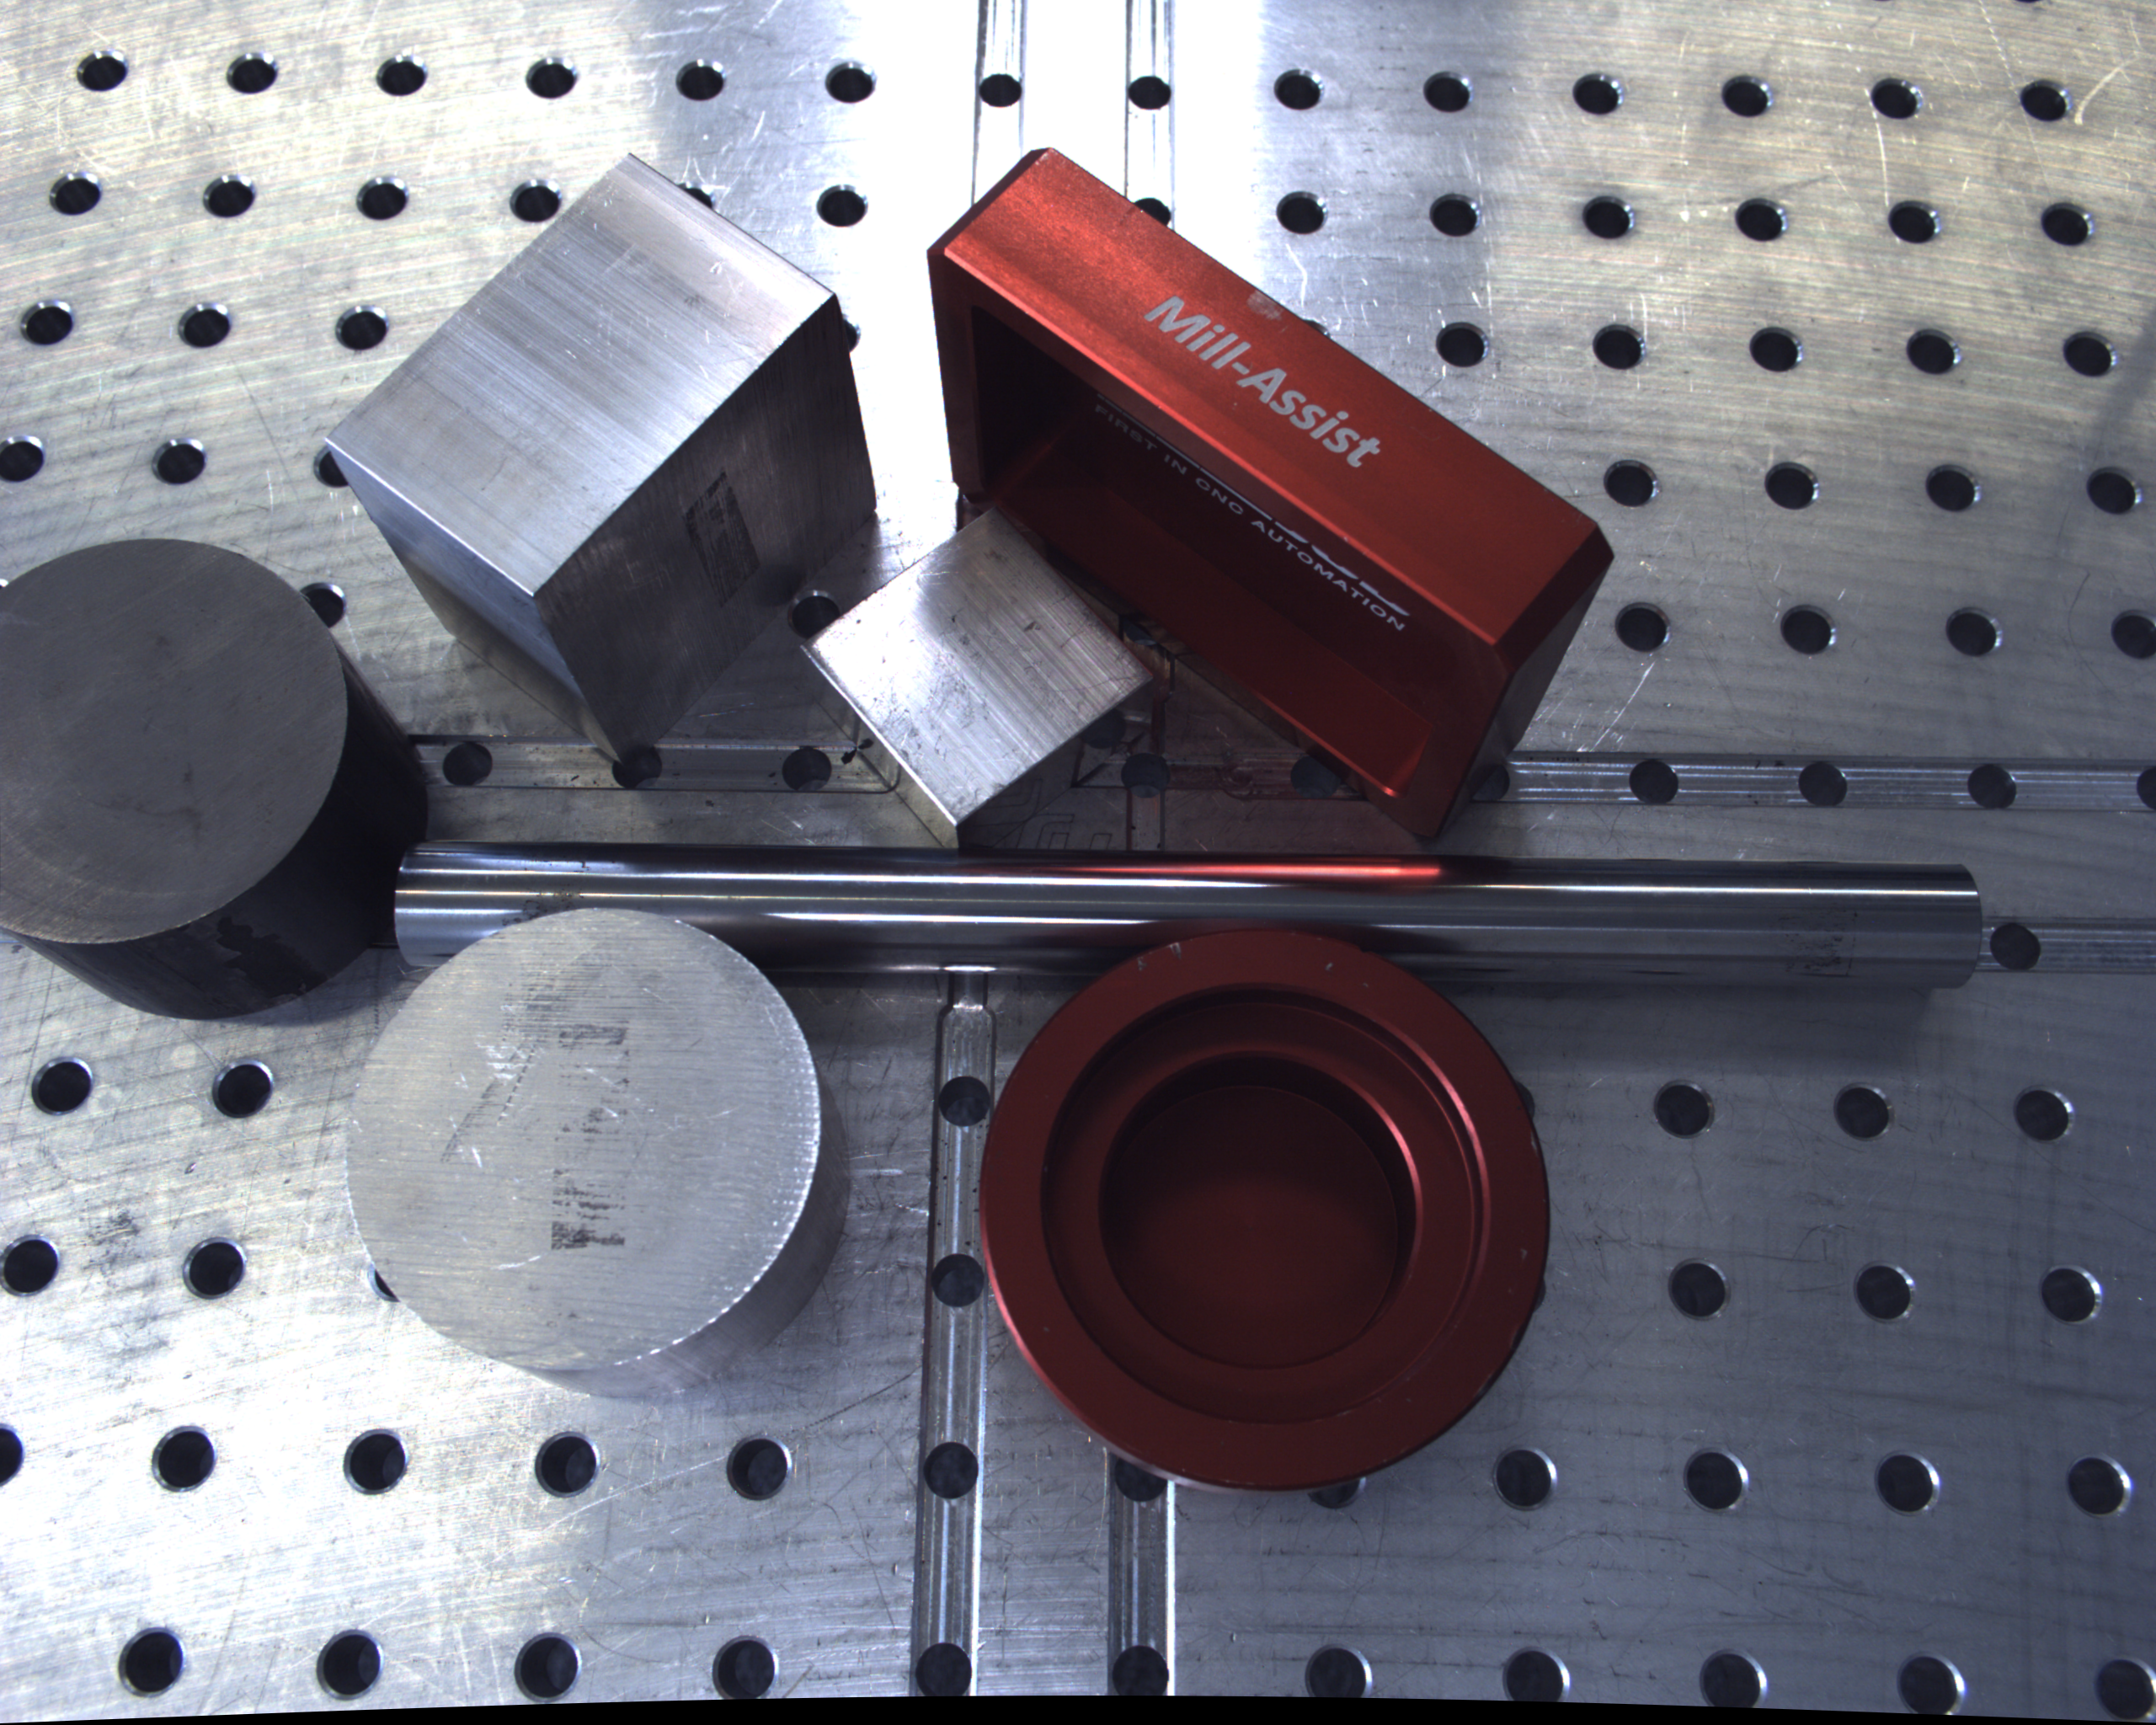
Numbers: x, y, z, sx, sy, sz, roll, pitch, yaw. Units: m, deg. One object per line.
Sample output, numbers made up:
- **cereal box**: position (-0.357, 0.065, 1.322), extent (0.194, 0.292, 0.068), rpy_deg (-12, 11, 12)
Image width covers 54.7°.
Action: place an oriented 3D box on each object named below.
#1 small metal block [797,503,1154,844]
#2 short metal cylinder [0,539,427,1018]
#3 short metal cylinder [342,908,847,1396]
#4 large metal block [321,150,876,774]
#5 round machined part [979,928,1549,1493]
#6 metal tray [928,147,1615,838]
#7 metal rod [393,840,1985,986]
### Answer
- **small metal block**: position (-0.020, -0.036, 0.425), extent (0.050, 0.025, 0.050), rpy_deg (-37, 74, -13)
- **short metal cylinder**: position (-0.173, -0.015, 0.402), extent (0.081, 0.050, 0.080), rpy_deg (0, 70, 0)
- **short metal cylinder**: position (-0.084, 0.054, 0.377), extent (0.081, 0.050, 0.080), rpy_deg (0, 70, 0)
- **large metal block**: position (-0.088, -0.075, 0.410), extent (0.050, 0.080, 0.080), rpy_deg (37, 74, 12)
- **round machined part**: position (0.032, 0.064, 0.379), extent (0.099, 0.042, 0.098), rpy_deg (0, 70, 0)
- **metal tray**: position (0.032, -0.068, 0.402), extent (0.130, 0.090, 0.030), rpy_deg (38, 75, 13)
- **metal rod**: position (0.021, 0.010, 0.408), extent (0.302, 0.025, 0.025), rpy_deg (1, 70, 0)
